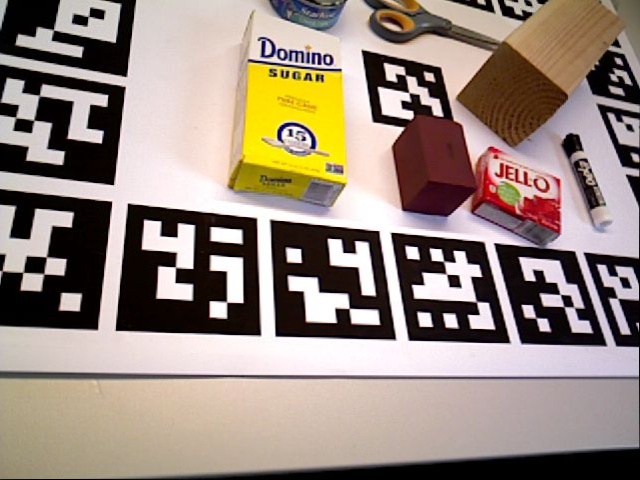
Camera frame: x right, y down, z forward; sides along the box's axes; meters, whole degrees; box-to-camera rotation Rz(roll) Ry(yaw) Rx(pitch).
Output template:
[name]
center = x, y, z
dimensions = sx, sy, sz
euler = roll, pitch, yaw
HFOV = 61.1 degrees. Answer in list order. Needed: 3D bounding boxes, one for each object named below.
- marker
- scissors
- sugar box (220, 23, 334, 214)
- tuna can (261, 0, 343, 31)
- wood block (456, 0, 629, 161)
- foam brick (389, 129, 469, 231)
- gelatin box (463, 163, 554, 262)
[marker]
center = 0.292, -0.051, 0.610
dimensions = 0.019, 0.020, 0.120
euler = 7, 65, -18
[scissors]
center = 0.137, -0.244, 0.648
dimensions = 0.201, 0.016, 0.086
euler = 13, 62, -13
[sugar box]
center = -0.035, -0.114, 0.501
dimensions = 0.092, 0.046, 0.174
euler = 11, 62, -17
[tuna can]
center = -0.020, -0.262, 0.581
dimensions = 0.085, 0.034, 0.085
euler = 8, 63, -18
[wood block]
center = 0.261, -0.189, 0.629
dimensions = 0.090, 0.093, 0.201
euler = 44, 57, 5
[foam brick]
center = 0.102, -0.055, 0.516
dimensions = 0.052, 0.052, 0.077
euler = 8, 63, -18
[gelatin box]
center = 0.194, -0.029, 0.557
dimensions = 0.089, 0.031, 0.072
euler = 23, 60, -9
